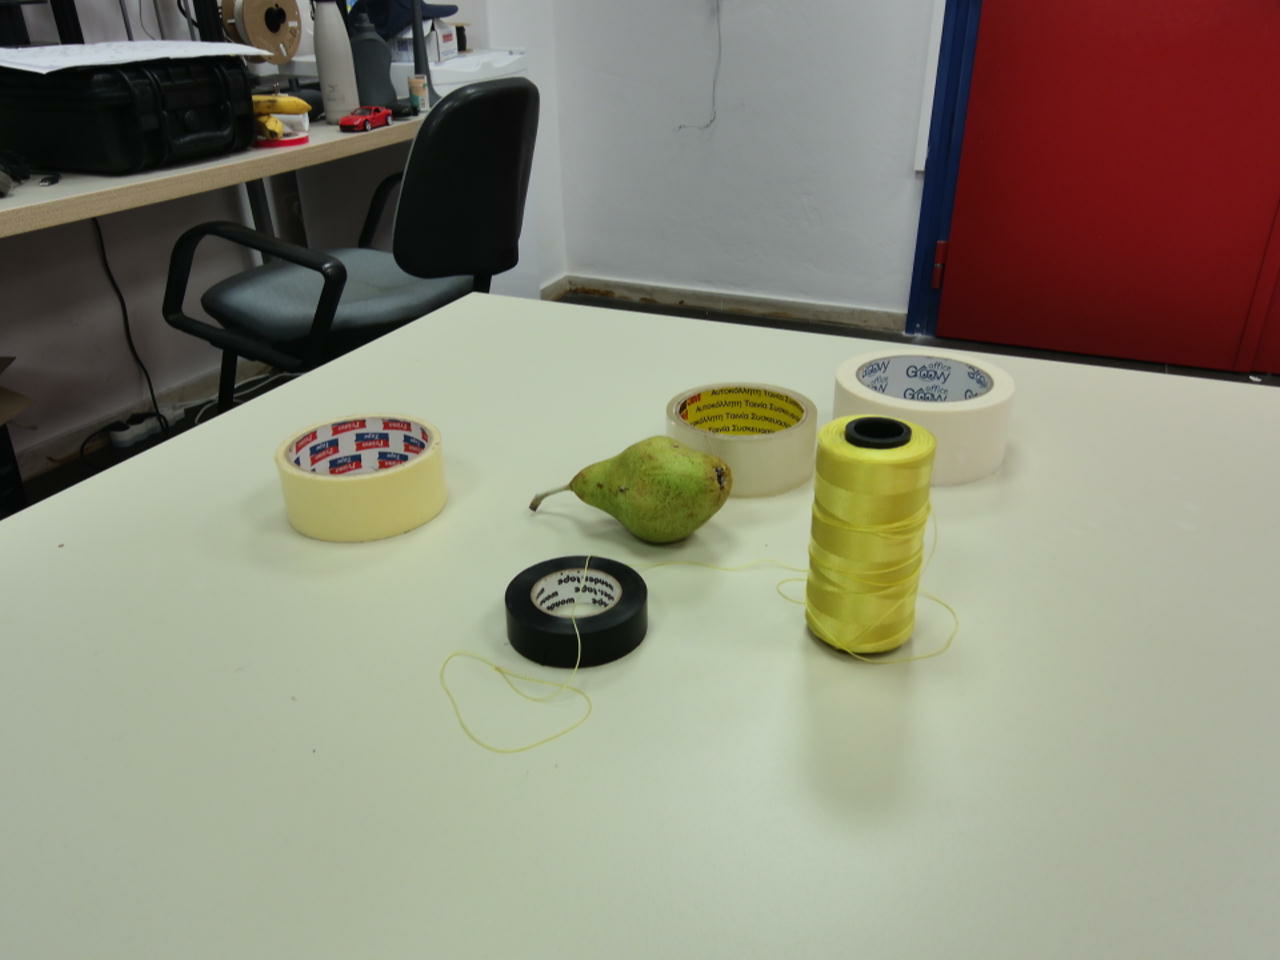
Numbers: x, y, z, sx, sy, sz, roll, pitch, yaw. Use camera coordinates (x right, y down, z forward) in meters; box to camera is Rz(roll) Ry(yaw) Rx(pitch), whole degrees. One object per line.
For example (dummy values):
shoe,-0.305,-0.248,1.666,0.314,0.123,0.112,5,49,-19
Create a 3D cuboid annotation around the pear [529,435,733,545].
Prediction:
pear,-0.003,0.000,0.542,0.111,0.056,0.056,19,31,36
